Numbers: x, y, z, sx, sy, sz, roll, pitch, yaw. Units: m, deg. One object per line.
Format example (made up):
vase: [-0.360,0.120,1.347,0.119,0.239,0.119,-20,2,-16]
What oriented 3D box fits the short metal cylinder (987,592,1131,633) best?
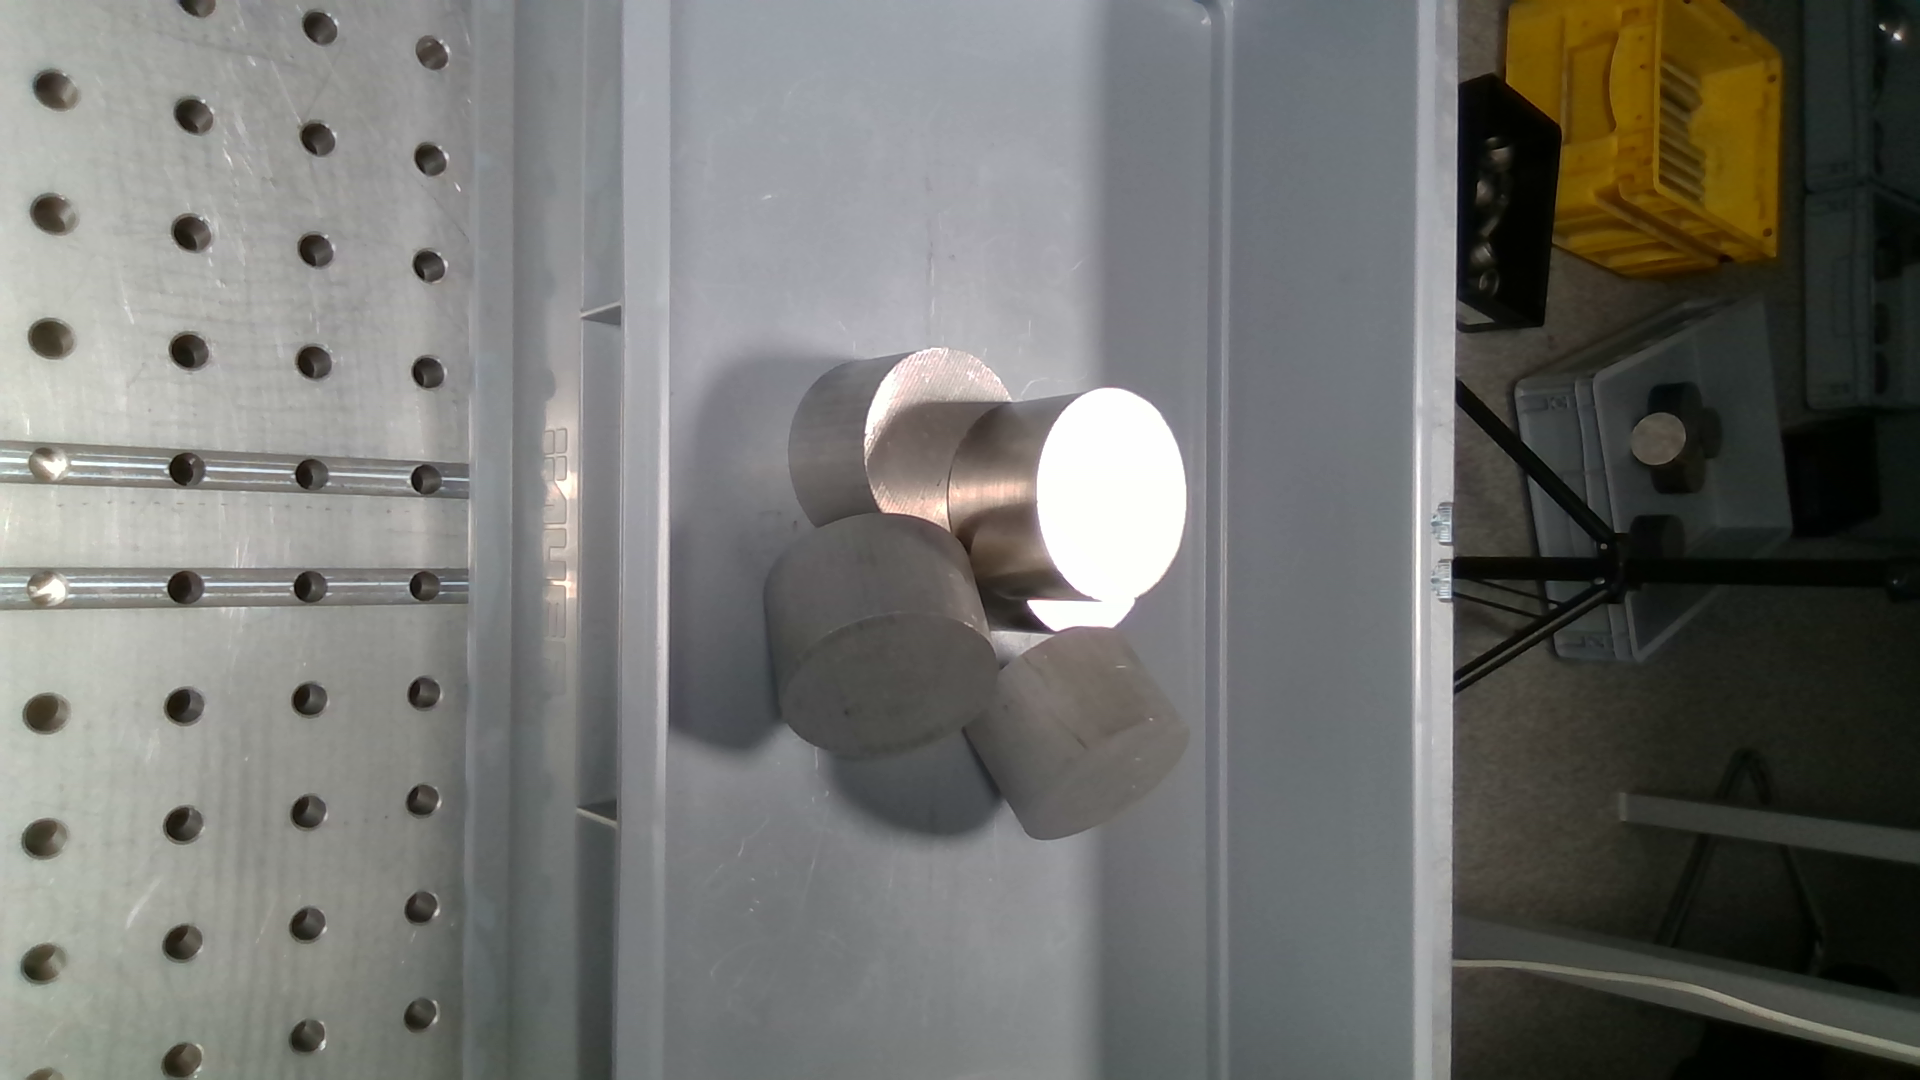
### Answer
short metal cylinder: [0.035,0.000,0.594,0.080,0.050,0.080,0,90,-40]

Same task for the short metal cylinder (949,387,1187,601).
short metal cylinder: [0.042,-0.017,0.534,0.080,0.050,0.080,0,90,-40]

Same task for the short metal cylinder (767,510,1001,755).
short metal cylinder: [-0.029,0.035,0.512,0.080,0.080,0.050,30,31,-36]

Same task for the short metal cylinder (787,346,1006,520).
short metal cylinder: [-0.021,-0.034,0.548,0.080,0.050,0.080,0,90,-40]

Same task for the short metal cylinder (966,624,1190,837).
short metal cylinder: [0.049,0.081,0.580,0.080,0.050,0.080,-24,146,-17]
